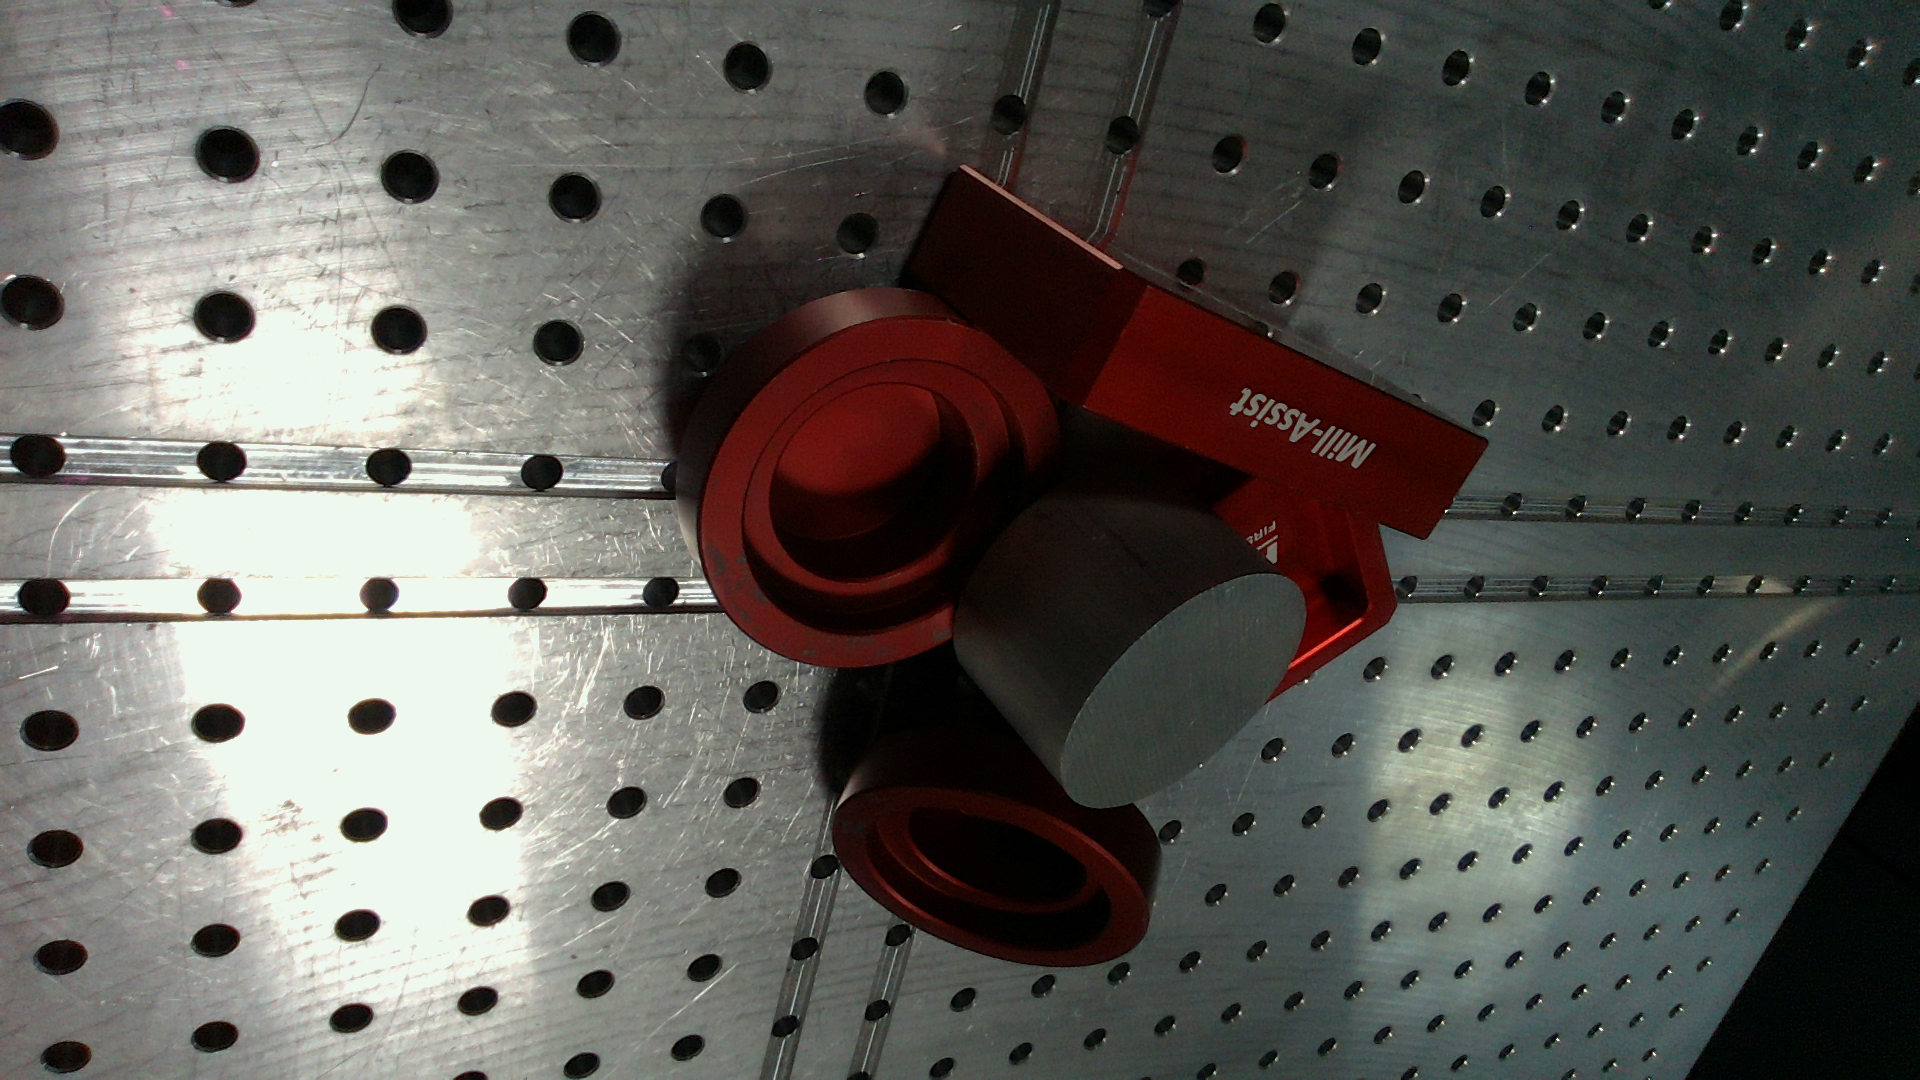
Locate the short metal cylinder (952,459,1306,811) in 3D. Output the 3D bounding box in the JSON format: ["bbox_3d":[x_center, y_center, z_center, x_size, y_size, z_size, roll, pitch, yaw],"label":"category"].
[{"bbox_3d":[0.045,0.026,0.368,0.080,0.050,0.080,-25,140,-23],"label":"short metal cylinder"}]

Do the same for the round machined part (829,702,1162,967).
[{"bbox_3d":[0.013,0.086,0.419,0.098,0.042,0.098,12,139,11],"label":"round machined part"}]

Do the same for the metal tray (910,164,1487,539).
[{"bbox_3d":[0.061,-0.048,0.354,0.130,0.090,0.030,16,110,-35],"label":"metal tray"}]

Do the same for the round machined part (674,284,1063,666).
[{"bbox_3d":[-0.026,-0.020,0.355,0.098,0.042,0.098,-14,124,-21],"label":"round machined part"}]

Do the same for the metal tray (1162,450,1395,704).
[{"bbox_3d":[0.072,0.021,0.440,0.130,0.030,0.090,-32,129,-8],"label":"metal tray"}]
